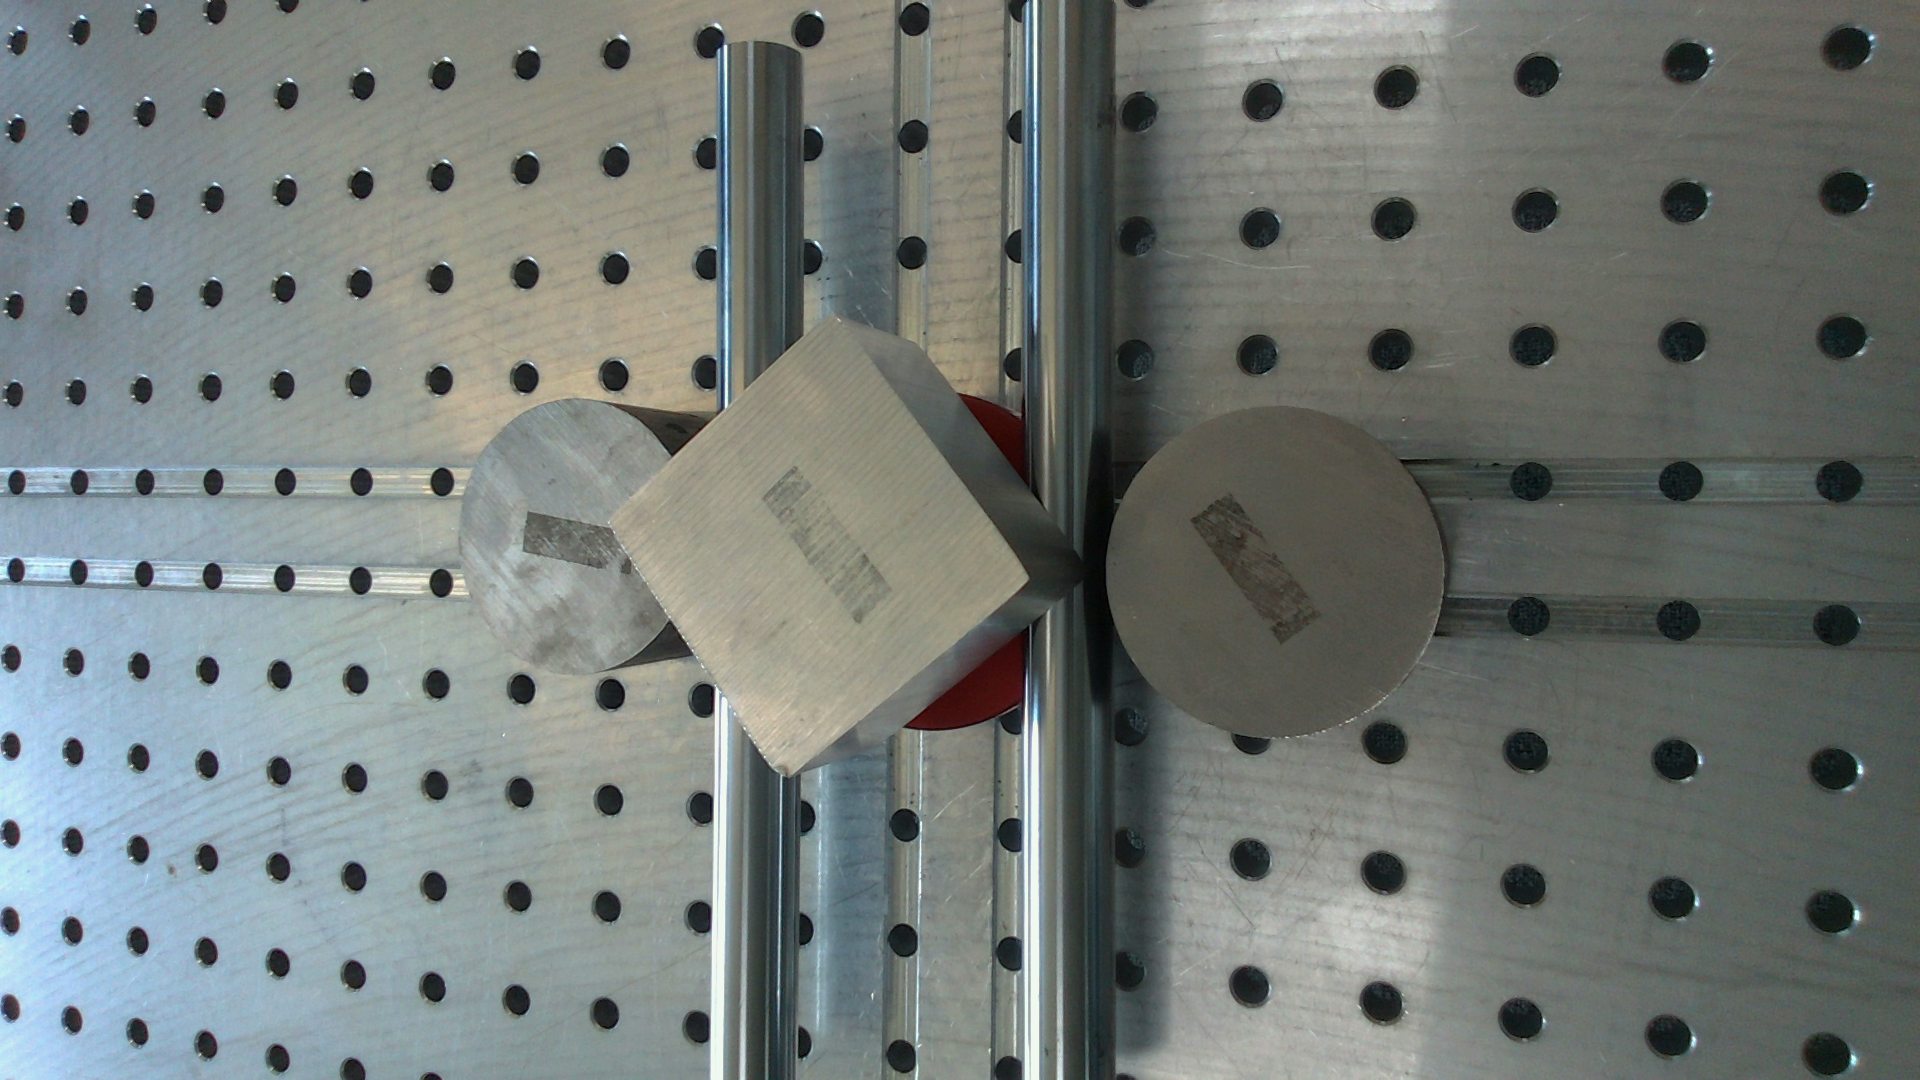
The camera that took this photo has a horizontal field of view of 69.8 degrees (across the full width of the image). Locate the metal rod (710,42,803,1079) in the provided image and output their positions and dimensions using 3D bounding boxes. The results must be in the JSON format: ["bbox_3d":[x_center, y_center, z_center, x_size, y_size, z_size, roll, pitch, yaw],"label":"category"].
[{"bbox_3d":[-0.059,0.011,0.397,0.025,0.025,0.300,0,90,20],"label":"metal rod"}]

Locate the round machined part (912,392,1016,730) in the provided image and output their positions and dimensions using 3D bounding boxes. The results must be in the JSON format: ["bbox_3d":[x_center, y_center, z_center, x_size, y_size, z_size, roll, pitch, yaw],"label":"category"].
[{"bbox_3d":[-0.011,0.006,0.394,0.098,0.042,0.098,0,90,20],"label":"round machined part"}]

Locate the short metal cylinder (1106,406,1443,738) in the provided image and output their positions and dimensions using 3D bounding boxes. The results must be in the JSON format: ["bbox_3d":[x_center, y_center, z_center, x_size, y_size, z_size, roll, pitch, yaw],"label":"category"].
[{"bbox_3d":[0.083,0.008,0.355,0.080,0.050,0.080,0,90,20],"label":"short metal cylinder"}]

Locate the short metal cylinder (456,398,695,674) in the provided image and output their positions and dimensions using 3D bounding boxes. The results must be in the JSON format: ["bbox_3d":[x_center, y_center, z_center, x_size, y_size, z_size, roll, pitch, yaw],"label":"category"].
[{"bbox_3d":[-0.105,-0.001,0.423,0.080,0.050,0.080,0,90,20],"label":"short metal cylinder"}]

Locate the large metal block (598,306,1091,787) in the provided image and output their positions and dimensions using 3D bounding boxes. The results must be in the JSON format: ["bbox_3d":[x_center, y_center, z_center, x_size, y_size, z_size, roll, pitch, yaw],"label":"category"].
[{"bbox_3d":[-0.028,0.002,0.345,0.080,0.050,0.080,-40,77,16],"label":"large metal block"}]

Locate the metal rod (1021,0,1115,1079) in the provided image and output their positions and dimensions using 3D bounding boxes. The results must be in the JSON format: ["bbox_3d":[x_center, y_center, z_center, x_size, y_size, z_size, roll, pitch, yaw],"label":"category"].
[{"bbox_3d":[0.029,0.009,0.366,0.025,0.025,0.300,0,90,20],"label":"metal rod"}]
